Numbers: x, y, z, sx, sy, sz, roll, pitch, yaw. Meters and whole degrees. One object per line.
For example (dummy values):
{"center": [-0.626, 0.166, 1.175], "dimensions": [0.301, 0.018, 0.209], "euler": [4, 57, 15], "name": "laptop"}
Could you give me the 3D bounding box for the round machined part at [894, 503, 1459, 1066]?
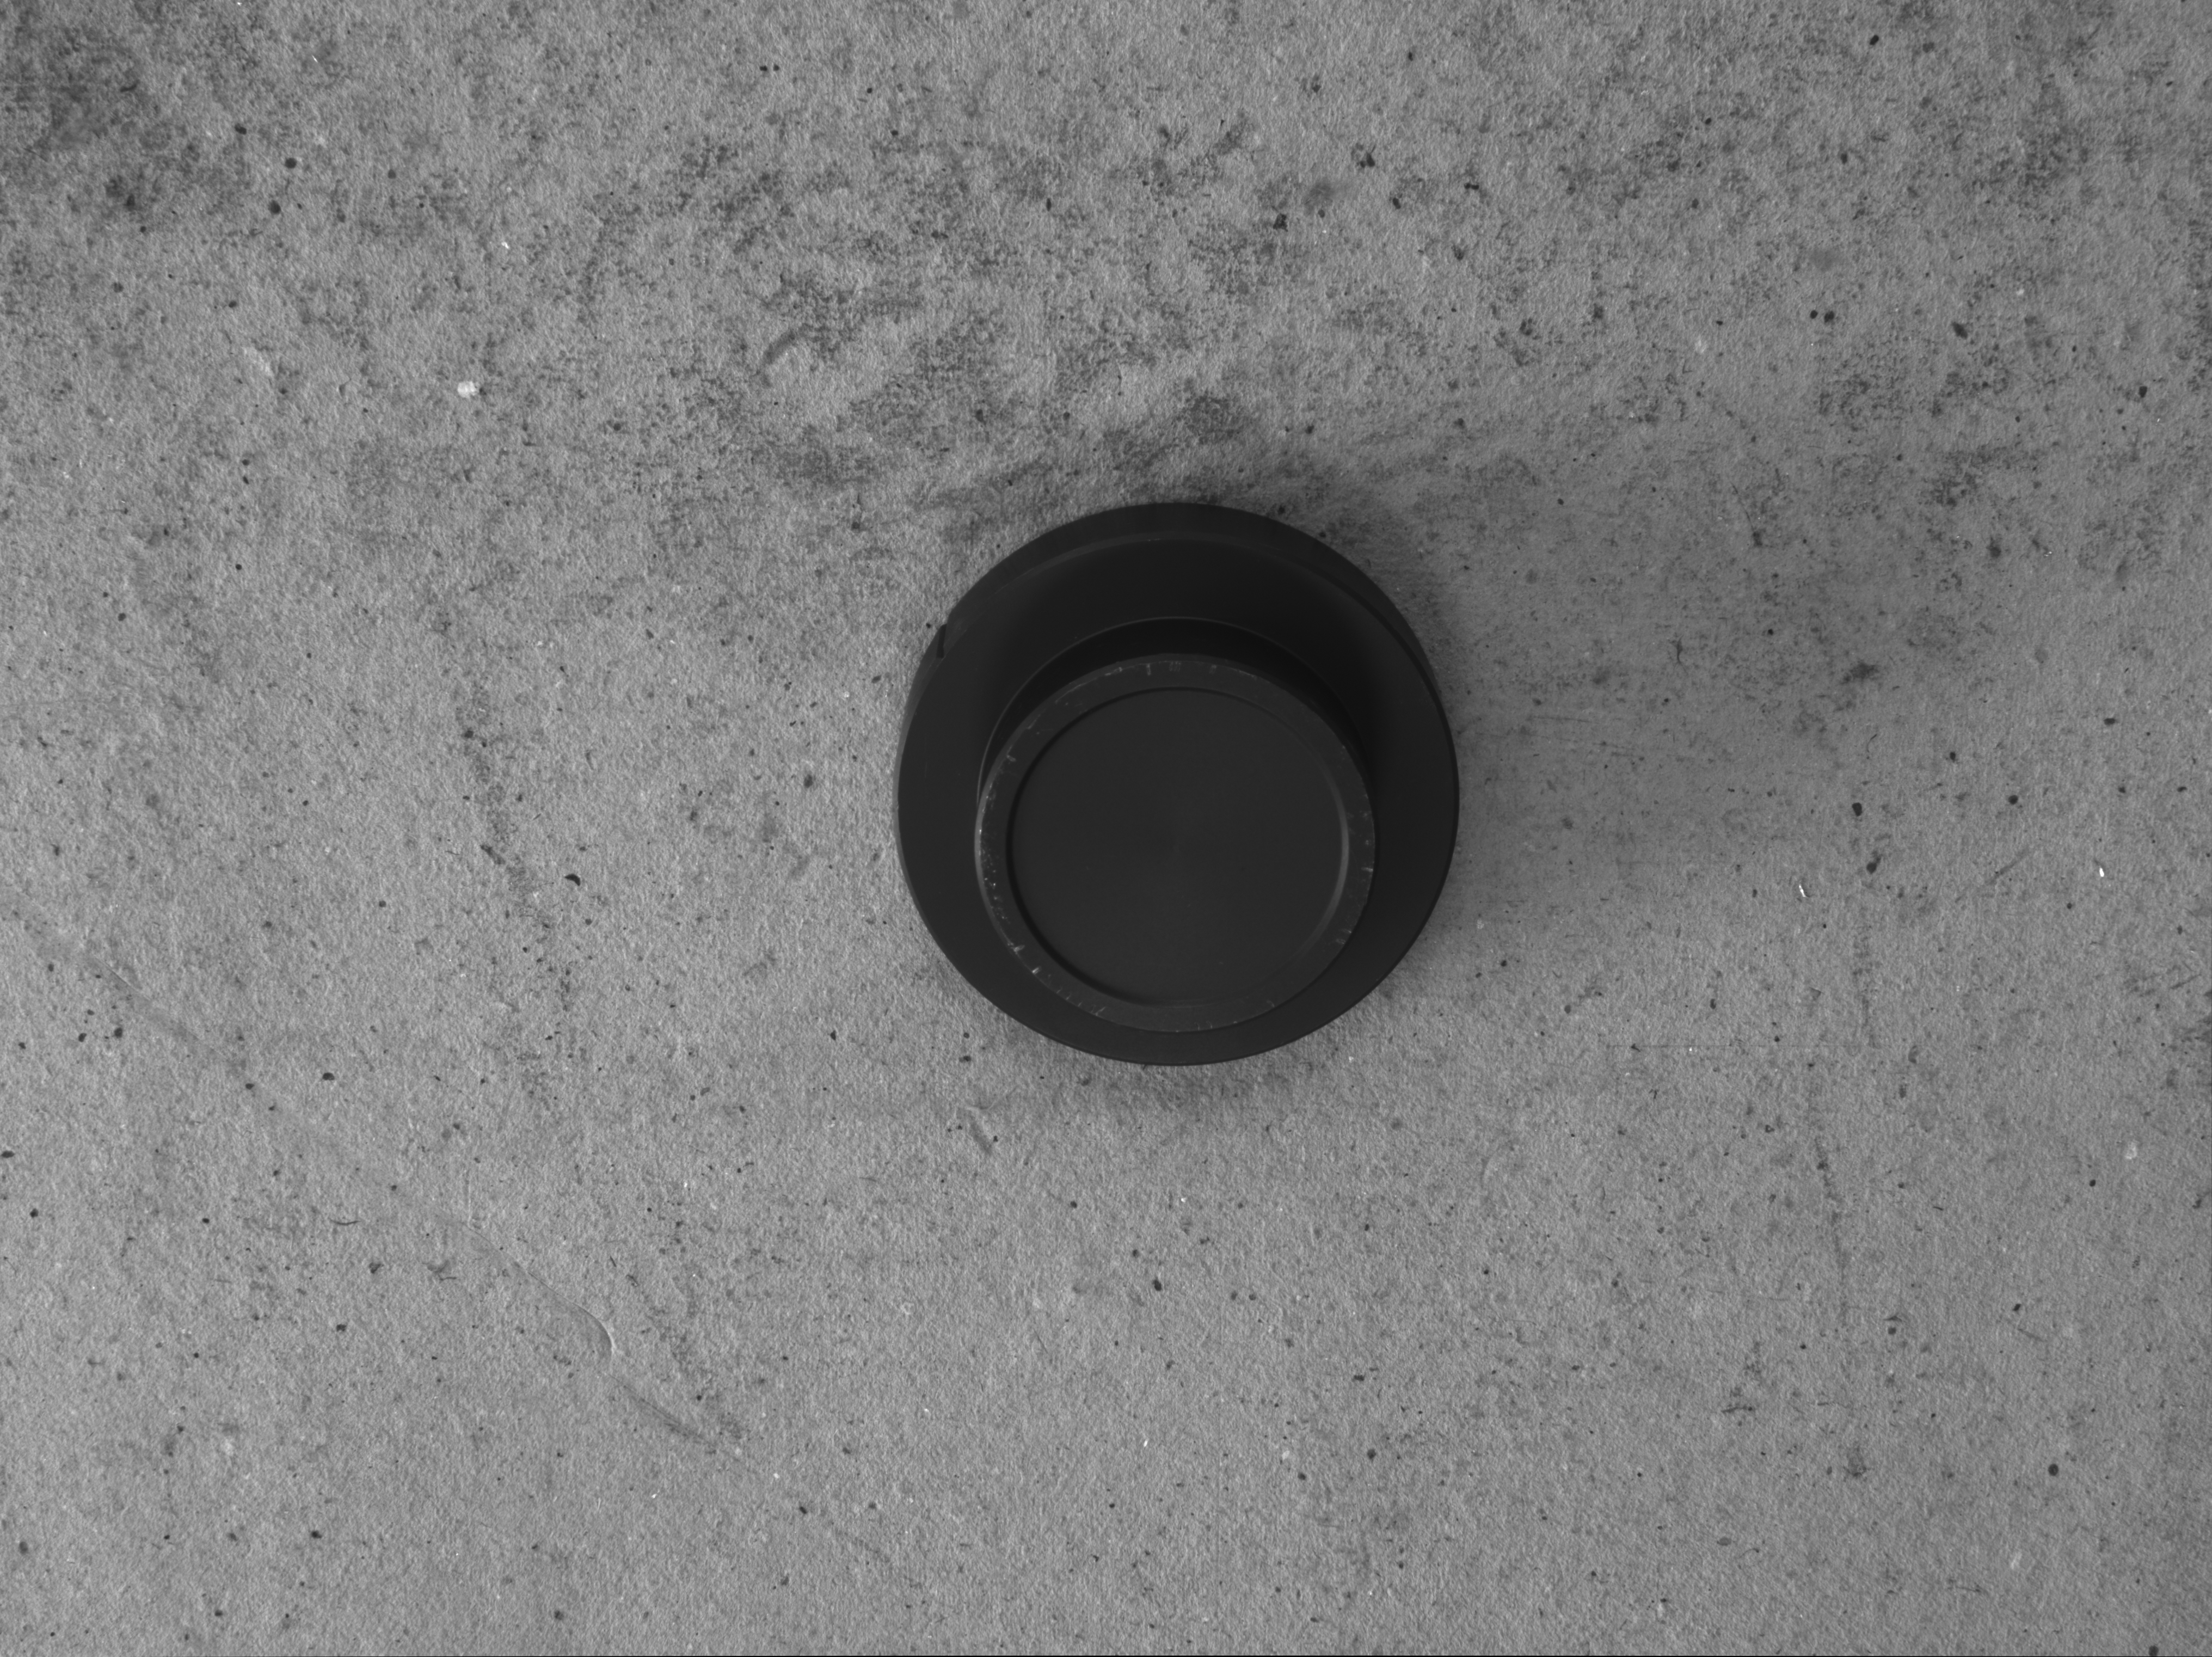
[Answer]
{"center": [0.012, -0.004, 0.634], "dimensions": [0.098, 0.042, 0.098], "euler": [0, 110, 0], "name": "round machined part"}
